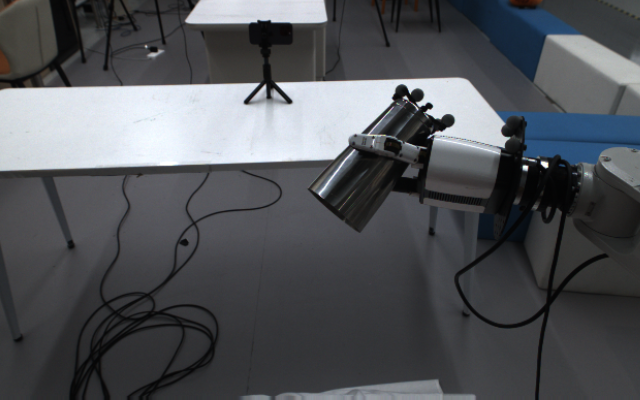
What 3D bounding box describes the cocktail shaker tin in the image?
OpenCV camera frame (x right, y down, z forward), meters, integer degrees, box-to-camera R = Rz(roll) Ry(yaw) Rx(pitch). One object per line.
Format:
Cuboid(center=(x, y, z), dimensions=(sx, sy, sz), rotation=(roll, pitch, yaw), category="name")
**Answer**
Cuboid(center=(0.073, -0.055, 0.647), dimensions=(0.170, 0.093, 0.093), rotation=(-48, 49, -4), category="cocktail shaker tin")
